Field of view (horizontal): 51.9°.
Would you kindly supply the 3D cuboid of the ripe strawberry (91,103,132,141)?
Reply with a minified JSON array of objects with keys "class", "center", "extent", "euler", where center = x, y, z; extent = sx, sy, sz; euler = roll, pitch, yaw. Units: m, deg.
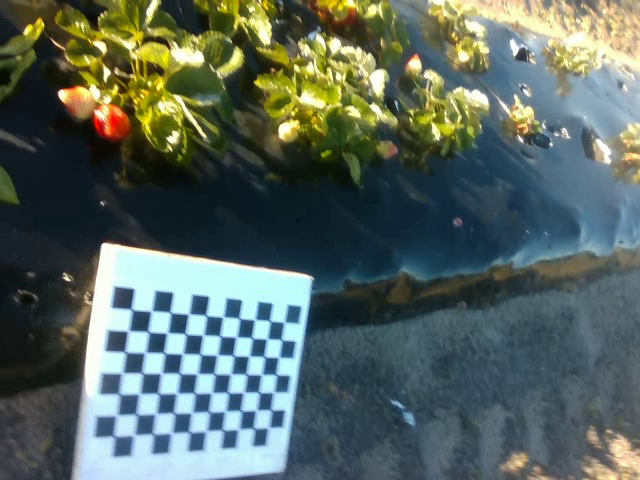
[{"class":"ripe strawberry","center":[-0.205,-0.115,0.643],"extent":[0.040,0.038,0.056],"euler":[-6,14,-11]}]
